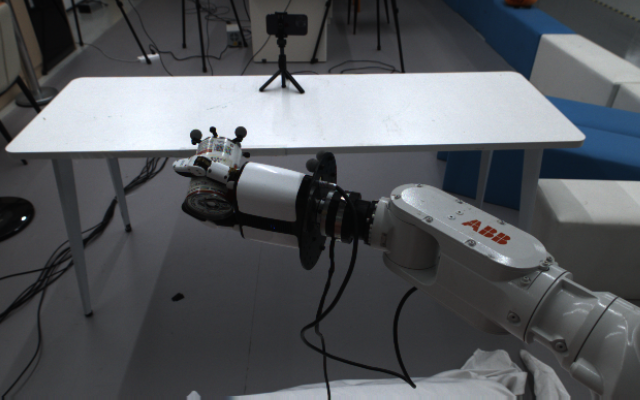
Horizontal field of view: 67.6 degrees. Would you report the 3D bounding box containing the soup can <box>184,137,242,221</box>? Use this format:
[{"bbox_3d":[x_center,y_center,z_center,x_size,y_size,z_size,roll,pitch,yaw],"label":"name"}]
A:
[{"bbox_3d":[-0.150,-0.032,0.687,0.067,0.067,0.101,3,56,1],"label":"soup can"}]
